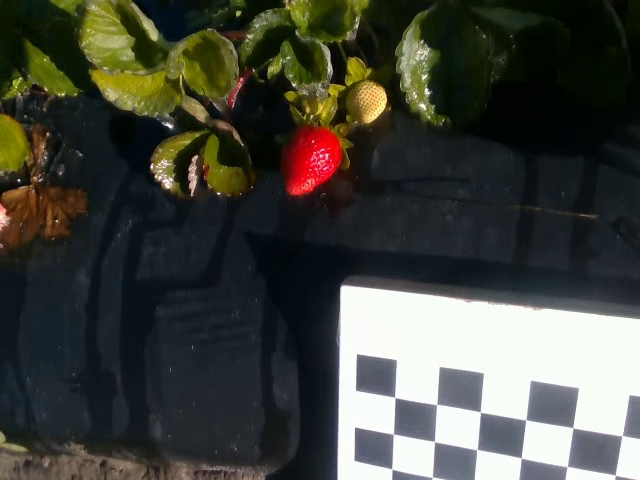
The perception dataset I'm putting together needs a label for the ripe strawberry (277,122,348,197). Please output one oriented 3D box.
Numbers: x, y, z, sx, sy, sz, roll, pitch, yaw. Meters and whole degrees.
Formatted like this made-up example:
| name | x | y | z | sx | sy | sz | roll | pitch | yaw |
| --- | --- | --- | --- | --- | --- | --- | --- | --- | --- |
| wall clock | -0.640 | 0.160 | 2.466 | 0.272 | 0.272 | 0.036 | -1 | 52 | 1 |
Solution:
| name | x | y | z | sx | sy | sz | roll | pitch | yaw |
| --- | --- | --- | --- | --- | --- | --- | --- | --- | --- |
| ripe strawberry | -0.006 | -0.033 | 0.288 | 0.039 | 0.040 | 0.039 | -1 | 41 | 30 |
